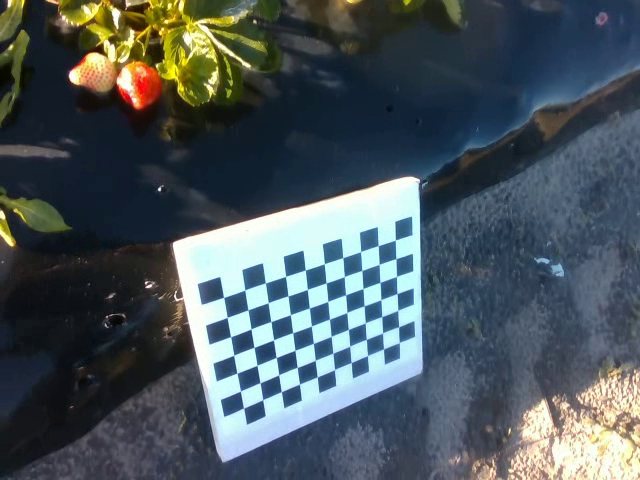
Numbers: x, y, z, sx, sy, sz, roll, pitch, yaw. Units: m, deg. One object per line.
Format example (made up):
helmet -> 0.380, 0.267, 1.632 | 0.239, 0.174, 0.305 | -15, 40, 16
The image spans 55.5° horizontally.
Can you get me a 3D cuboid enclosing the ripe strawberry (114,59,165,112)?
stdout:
ripe strawberry -> -0.149, -0.124, 0.500 | 0.040, 0.038, 0.056 | -19, 34, 8
